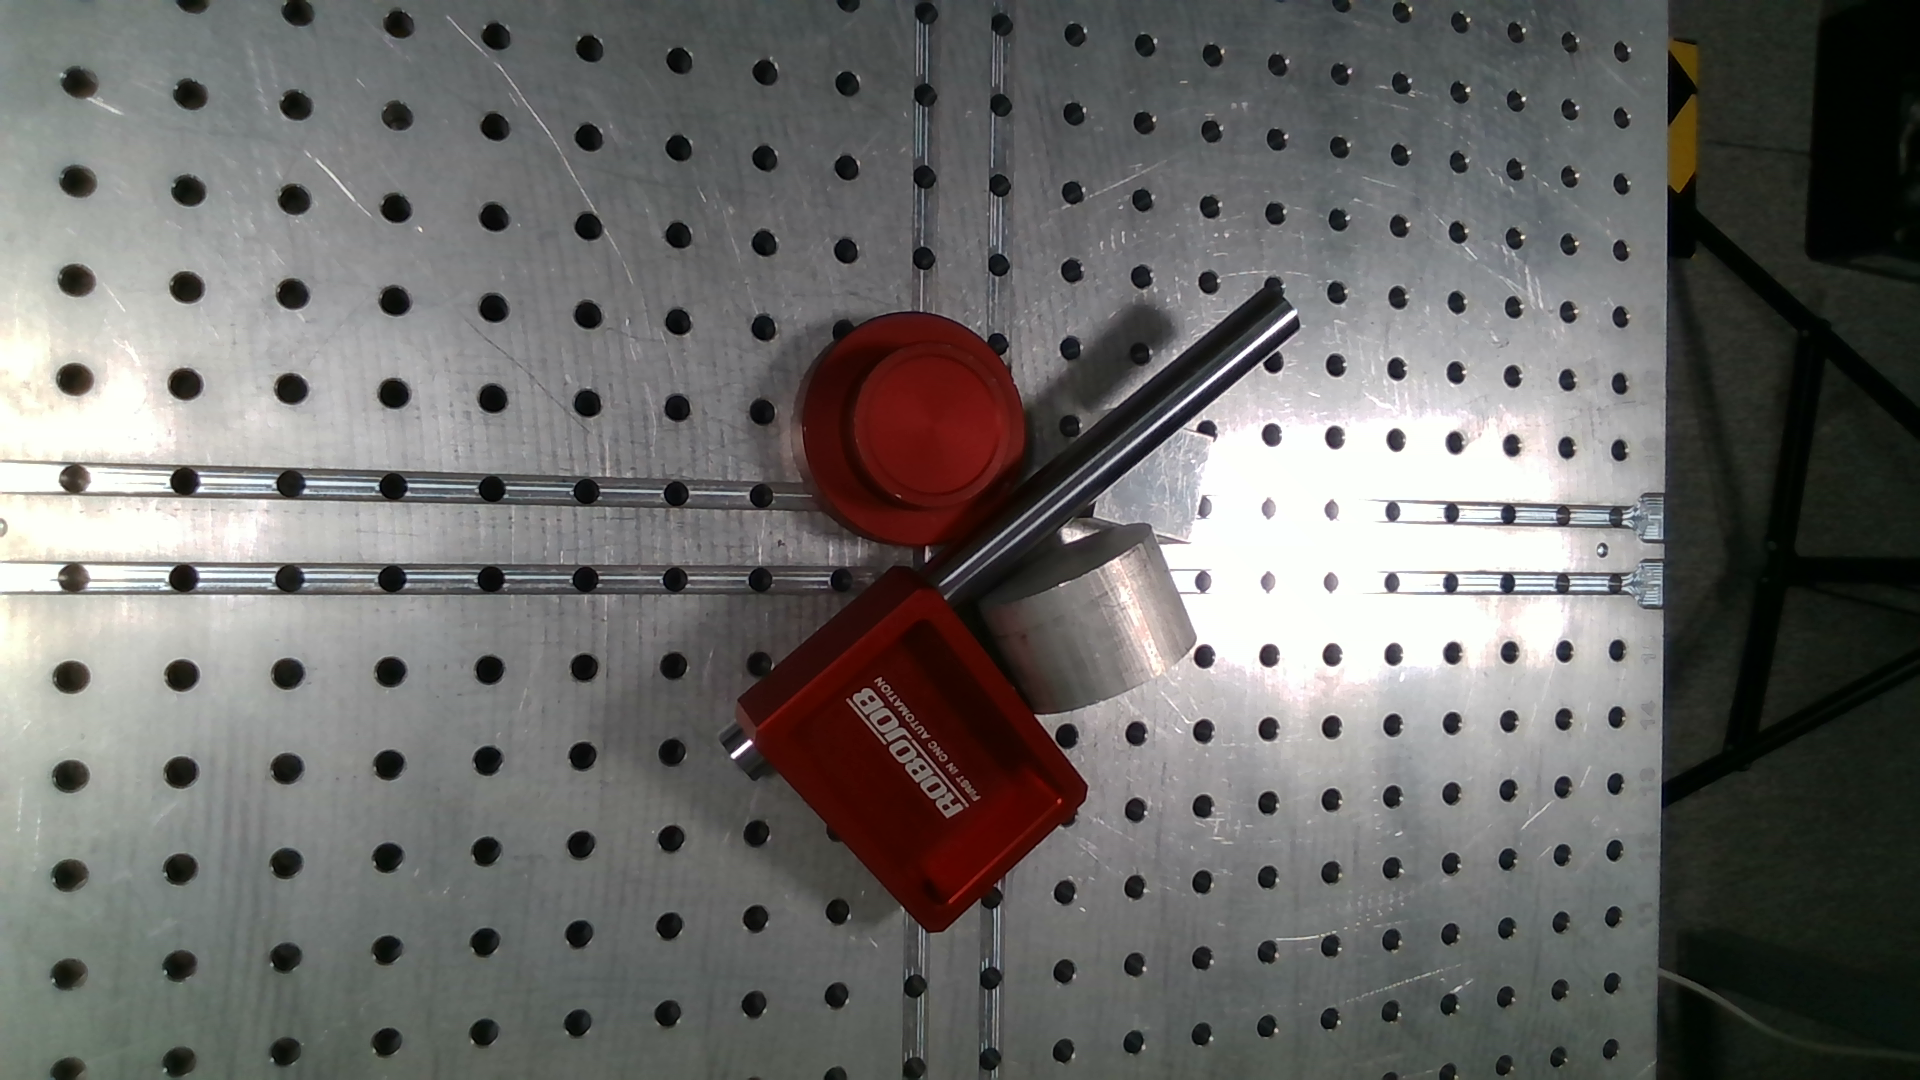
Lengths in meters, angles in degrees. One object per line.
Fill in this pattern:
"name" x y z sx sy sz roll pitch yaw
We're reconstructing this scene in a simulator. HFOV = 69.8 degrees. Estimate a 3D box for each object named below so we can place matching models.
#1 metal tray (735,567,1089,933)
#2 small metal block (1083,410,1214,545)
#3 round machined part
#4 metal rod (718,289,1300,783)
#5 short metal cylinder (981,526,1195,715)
"metal tray" -0.017 0.087 0.557 0.090 0.030 0.130 -41 119 -8
"small metal block" 0.081 -0.028 0.619 0.050 0.025 0.050 14 85 -20
"round machined part" -0.018 -0.047 0.572 0.098 0.042 0.098 0 90 -20
"metal rod" 0.024 -0.005 0.579 0.300 0.025 0.025 -40 103 -8
"short metal cylinder" 0.053 0.032 0.579 0.080 0.080 0.050 -27 99 -18
